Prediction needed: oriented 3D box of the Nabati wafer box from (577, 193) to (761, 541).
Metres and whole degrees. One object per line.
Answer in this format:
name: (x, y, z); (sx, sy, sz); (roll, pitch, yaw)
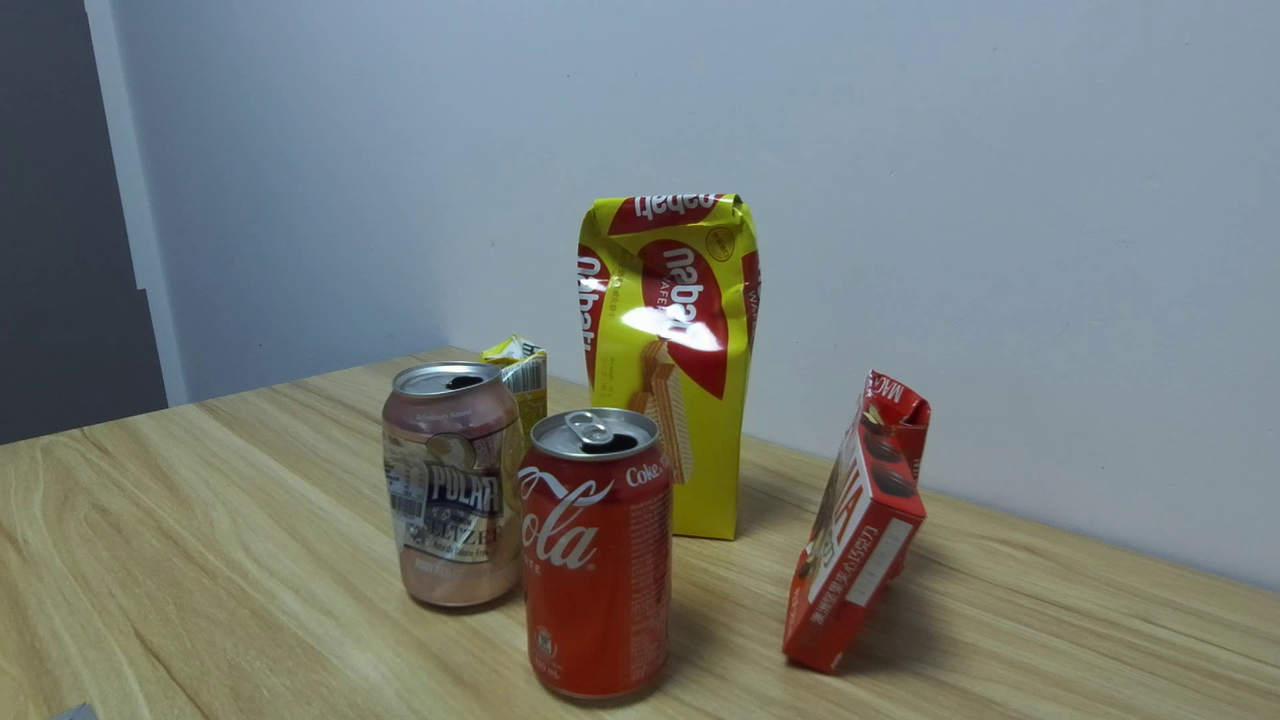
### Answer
Nabati wafer box: (0.016, 0.007, 0.427); (0.113, 0.205, 0.042); (2, 15, 11)

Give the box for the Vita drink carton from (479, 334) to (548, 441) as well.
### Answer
Vita drink carton: (-0.092, 0.043, 0.475); (0.047, 0.109, 0.071); (-7, 16, -29)

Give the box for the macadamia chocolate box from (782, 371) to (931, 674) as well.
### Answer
macadamia chocolate box: (0.110, 0.076, 0.355); (0.056, 0.112, 0.127); (8, 18, 20)

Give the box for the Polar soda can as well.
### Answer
Polar soda can: (-0.096, 0.067, 0.375); (0.067, 0.122, 0.074); (-9, 15, -30)
